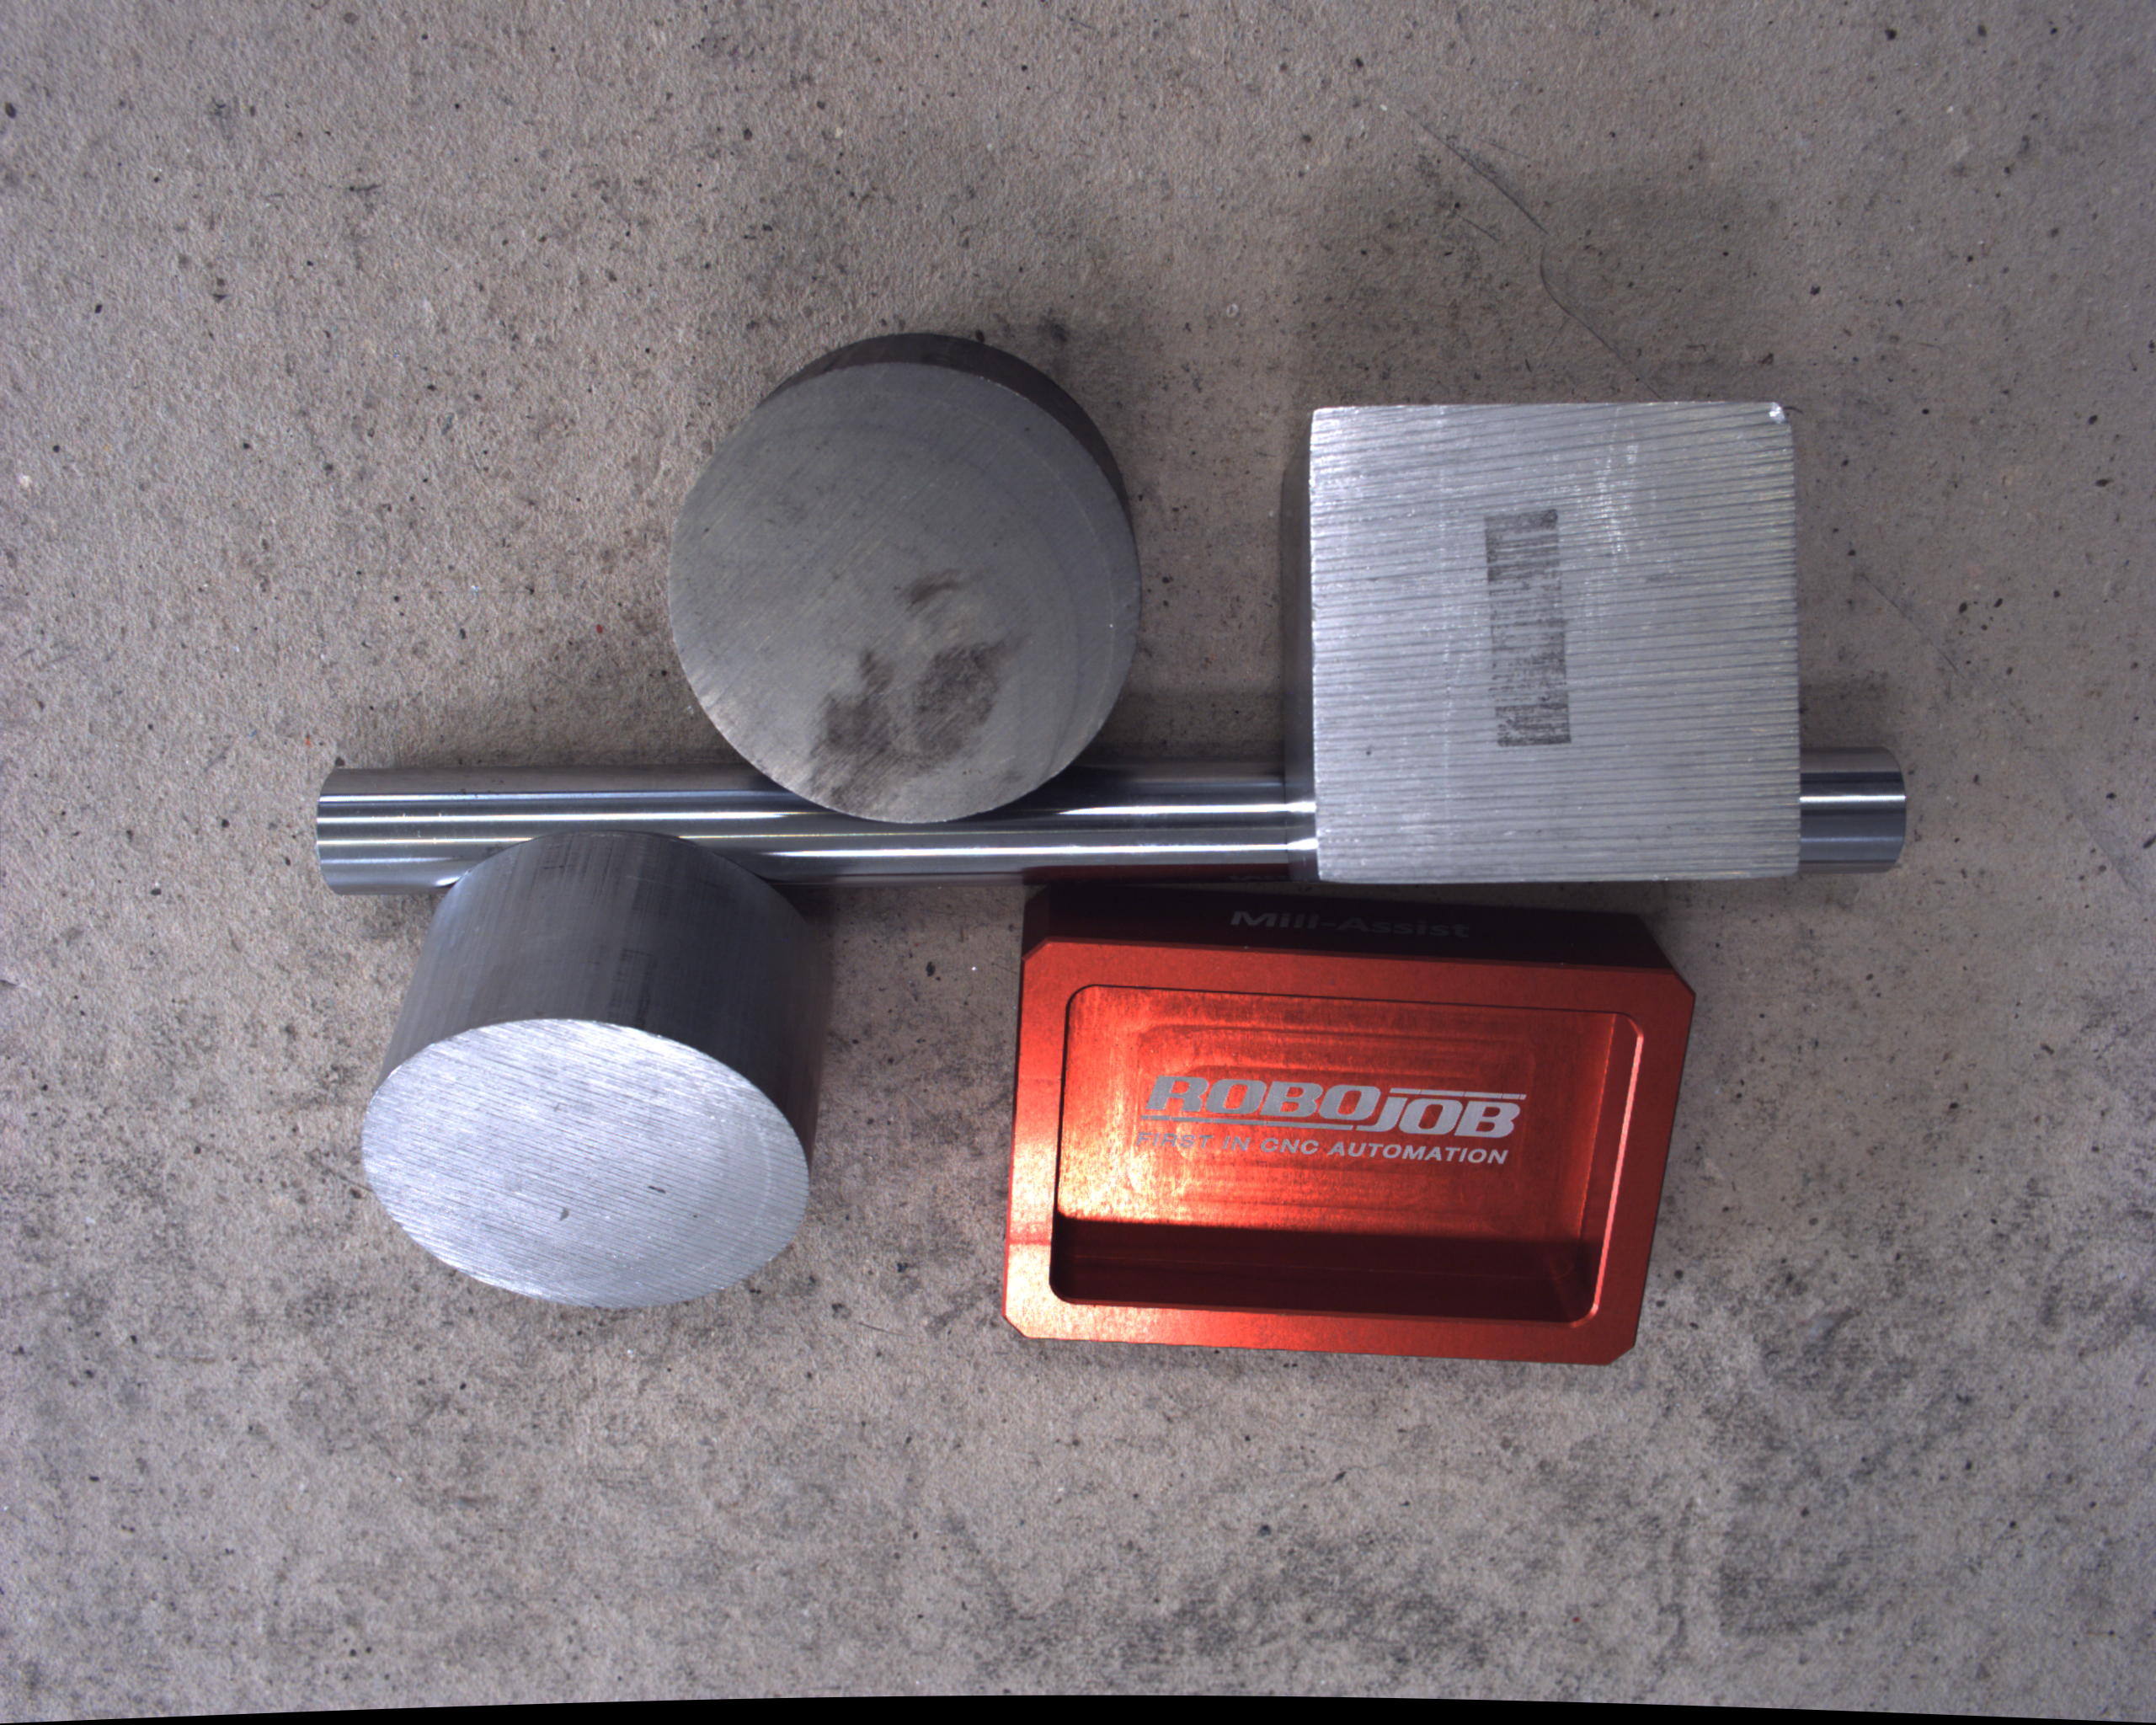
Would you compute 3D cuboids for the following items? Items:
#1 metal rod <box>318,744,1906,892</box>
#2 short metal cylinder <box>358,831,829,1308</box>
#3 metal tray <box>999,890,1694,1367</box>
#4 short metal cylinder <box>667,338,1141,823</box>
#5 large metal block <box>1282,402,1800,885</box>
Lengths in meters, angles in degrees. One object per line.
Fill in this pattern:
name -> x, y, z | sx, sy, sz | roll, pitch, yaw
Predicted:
metal rod -> 0.007, -0.009, 0.409 | 0.302, 0.025, 0.025 | -1, 110, 0
short metal cylinder -> -0.090, 0.040, 0.399 | 0.081, 0.050, 0.079 | -1, 131, -1
metal tray -> 0.051, 0.055, 0.428 | 0.131, 0.030, 0.089 | 3, 110, -2
short metal cylinder -> -0.029, -0.053, 0.378 | 0.081, 0.050, 0.079 | 0, 110, 0
large metal block -> 0.079, -0.036, 0.372 | 0.081, 0.050, 0.080 | -1, 89, 0
